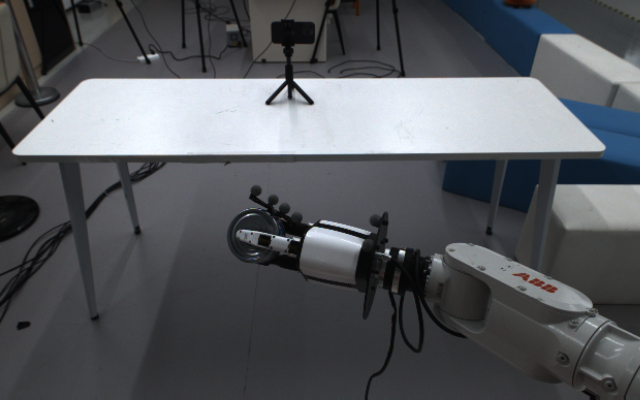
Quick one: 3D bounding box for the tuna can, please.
[{"bbox_3d":[-0.096,0.061,0.742,0.085,0.085,0.034,13,-4,15],"label":"tuna can"}]
